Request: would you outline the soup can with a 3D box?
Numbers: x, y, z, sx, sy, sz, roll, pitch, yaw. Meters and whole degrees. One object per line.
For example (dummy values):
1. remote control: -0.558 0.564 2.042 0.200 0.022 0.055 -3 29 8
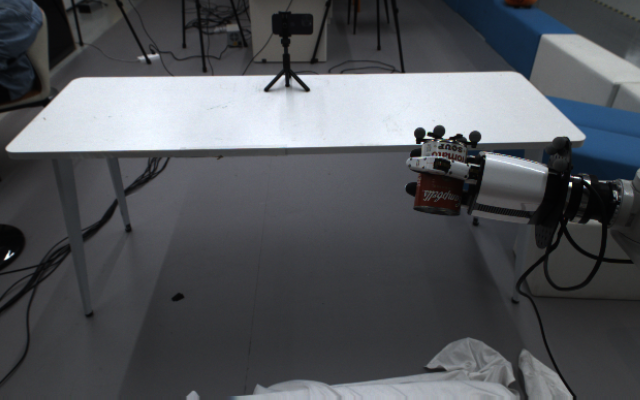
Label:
1. soup can: 0.179 -0.033 0.711 0.067 0.101 0.067 9 -6 1
